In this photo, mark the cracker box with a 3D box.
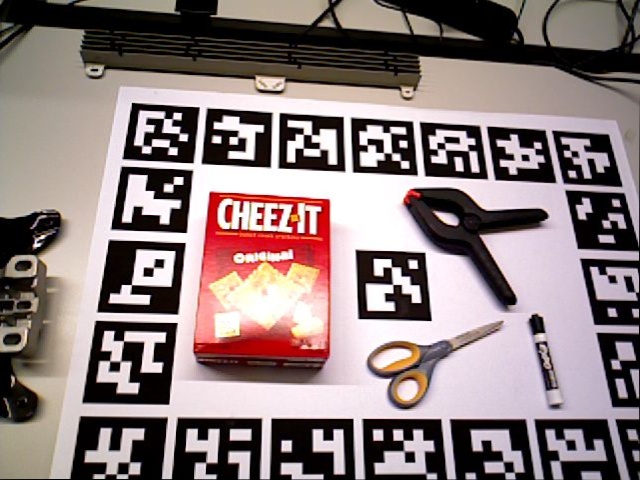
[{"bbox_3d":[-0.069,0.048,0.688,0.163,0.073,0.211,4,65,-5],"label":"cracker box"}]

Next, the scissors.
[{"bbox_3d":[0.158,0.143,0.700,0.199,0.016,0.087,-24,69,-19],"label":"scissors"}]

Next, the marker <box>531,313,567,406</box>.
[{"bbox_3d":[0.299,0.154,0.710,0.019,0.020,0.120,-1,65,-8],"label":"marker"}]

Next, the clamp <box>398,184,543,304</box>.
[{"bbox_3d":[0.205,-0.021,0.785,0.202,0.037,0.162,30,64,7],"label":"clamp"}]
